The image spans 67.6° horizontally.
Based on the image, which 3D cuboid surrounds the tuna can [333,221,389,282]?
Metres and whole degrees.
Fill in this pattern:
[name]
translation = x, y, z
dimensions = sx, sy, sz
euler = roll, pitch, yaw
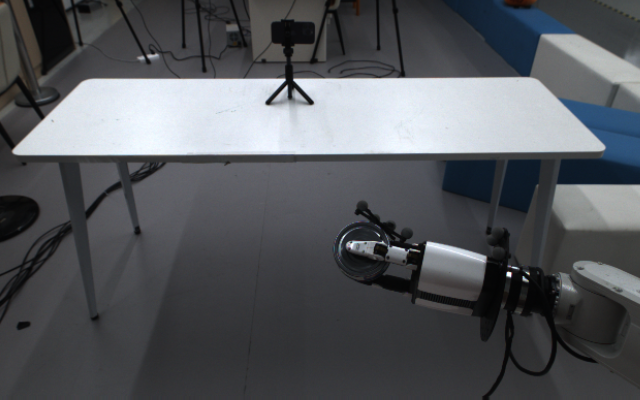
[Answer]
[tuna can]
translation = 0.066, 0.081, 0.711
dimensions = 0.085, 0.034, 0.085
euler = -4, 69, 10
